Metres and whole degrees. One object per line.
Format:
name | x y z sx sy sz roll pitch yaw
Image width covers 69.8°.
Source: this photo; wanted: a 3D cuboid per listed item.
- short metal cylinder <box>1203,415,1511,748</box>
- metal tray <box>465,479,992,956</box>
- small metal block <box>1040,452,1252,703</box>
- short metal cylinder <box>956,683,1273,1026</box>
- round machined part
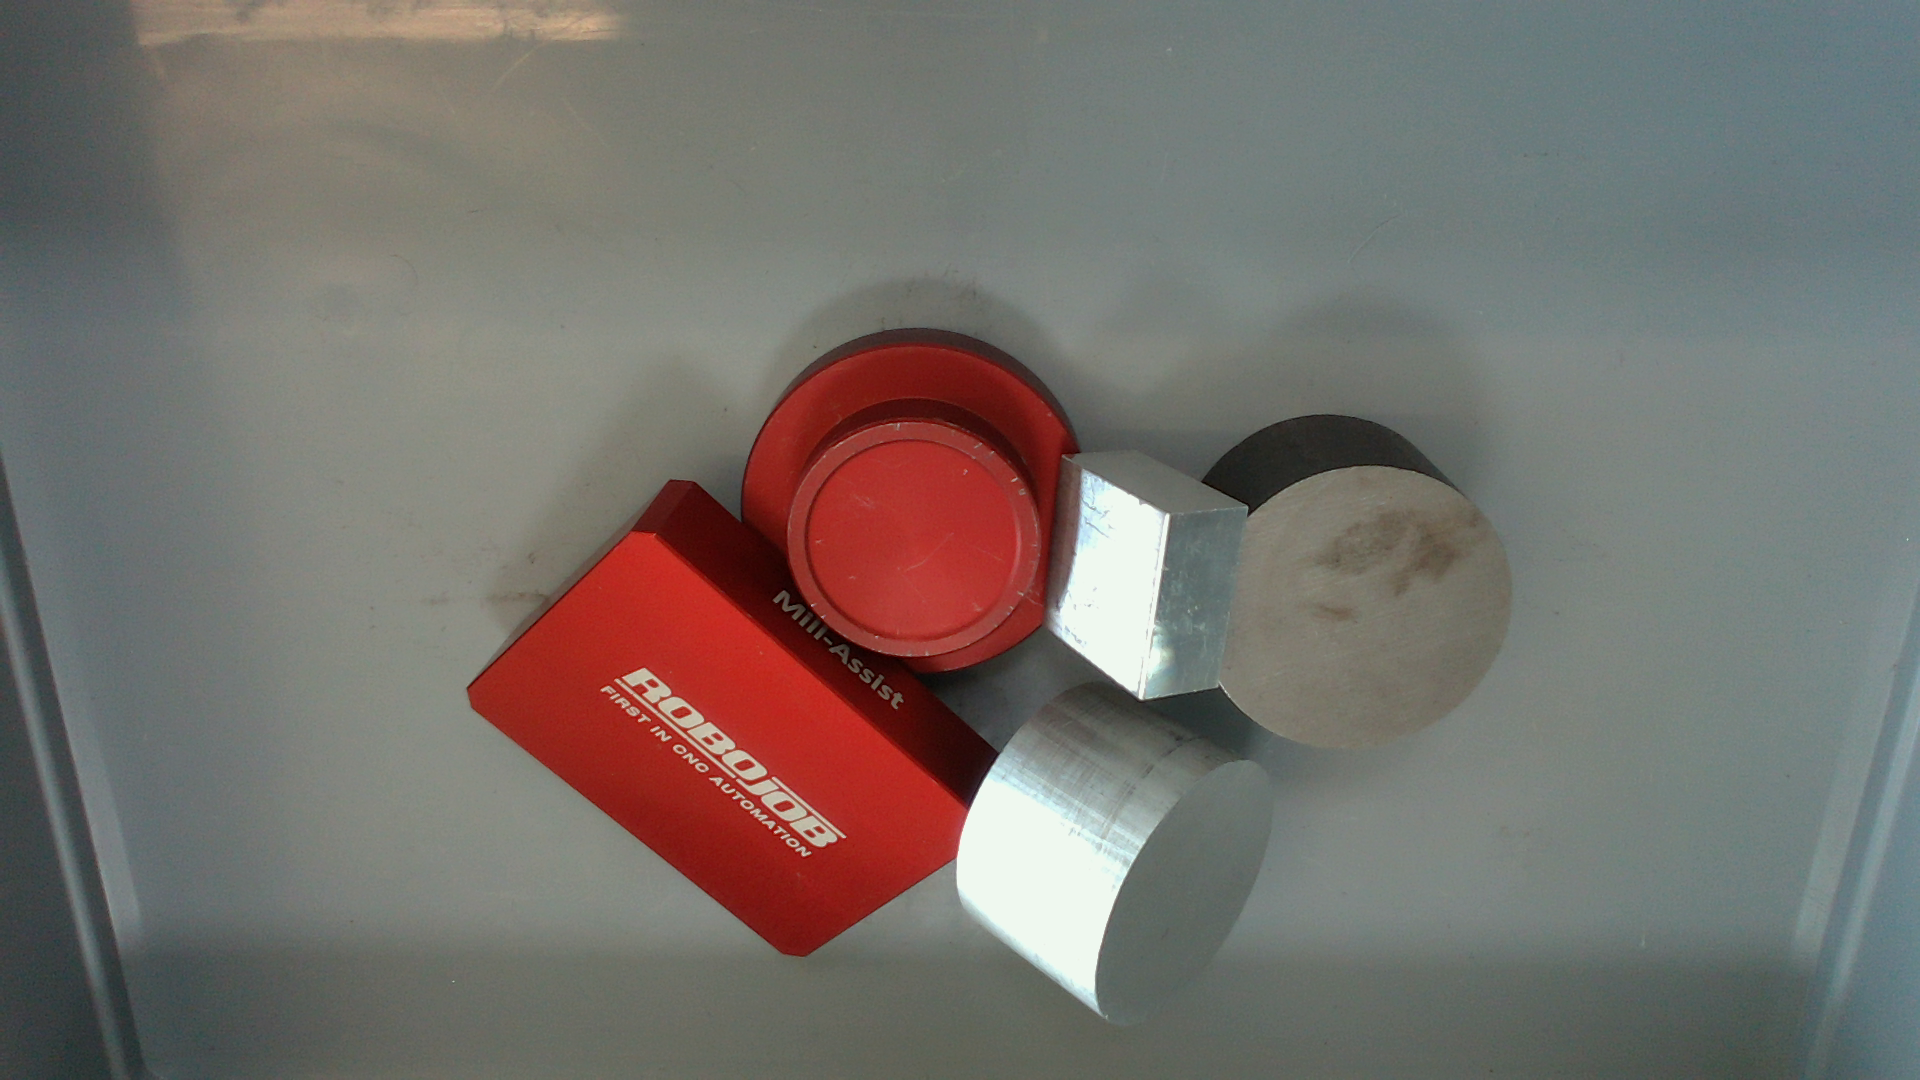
short metal cylinder | 0.104 0.011 0.384 0.080 0.050 0.080 0 110 0
metal tray | -0.064 0.056 0.398 0.130 0.030 0.090 43 120 -15
small metal block | 0.047 0.008 0.363 0.025 0.050 0.050 -5 112 -28
short metal cylinder | 0.045 0.087 0.389 0.050 0.080 0.080 26 115 37
round machined part | -0.013 -0.007 0.380 0.098 0.042 0.098 0 110 0
